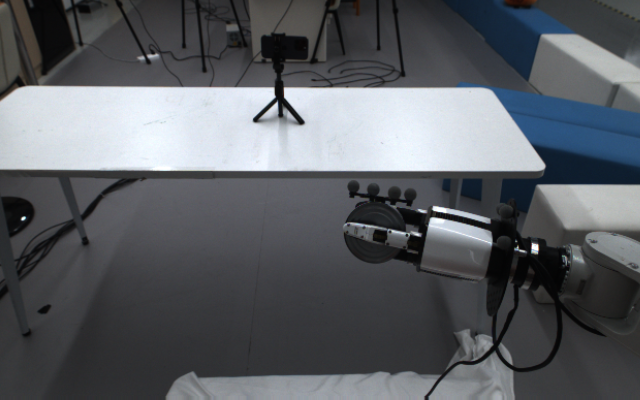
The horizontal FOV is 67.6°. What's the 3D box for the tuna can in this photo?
[{"bbox_3d":[0.079,0.041,0.676,0.085,0.085,0.034,11,2,12],"label":"tuna can"}]
